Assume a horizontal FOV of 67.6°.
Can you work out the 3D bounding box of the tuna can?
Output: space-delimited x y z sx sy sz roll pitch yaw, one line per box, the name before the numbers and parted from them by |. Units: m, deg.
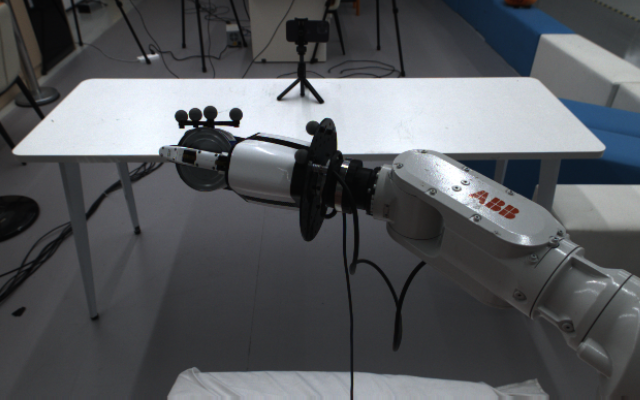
tuna can | -0.148 -0.054 0.653 0.085 0.085 0.034 11 7 13
